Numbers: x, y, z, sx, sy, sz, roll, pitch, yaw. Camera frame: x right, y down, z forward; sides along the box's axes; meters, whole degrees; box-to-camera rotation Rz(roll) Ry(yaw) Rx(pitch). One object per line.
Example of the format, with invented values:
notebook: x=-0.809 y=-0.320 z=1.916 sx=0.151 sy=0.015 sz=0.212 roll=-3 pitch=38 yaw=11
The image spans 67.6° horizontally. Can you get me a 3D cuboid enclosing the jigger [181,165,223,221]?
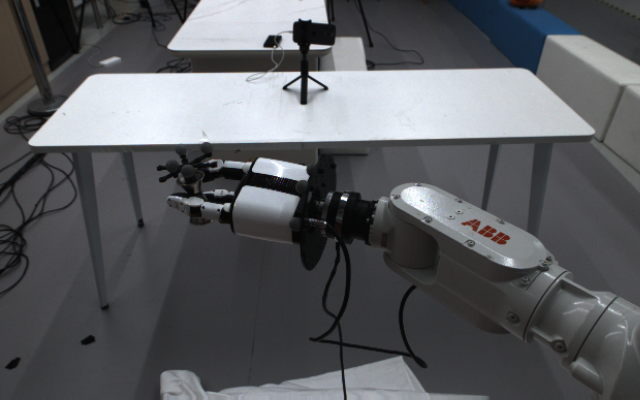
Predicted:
jigger: x=-0.173 y=-0.005 z=0.696 sx=0.043 sy=0.071 sz=0.043 roll=-8 pitch=31 yaw=5
